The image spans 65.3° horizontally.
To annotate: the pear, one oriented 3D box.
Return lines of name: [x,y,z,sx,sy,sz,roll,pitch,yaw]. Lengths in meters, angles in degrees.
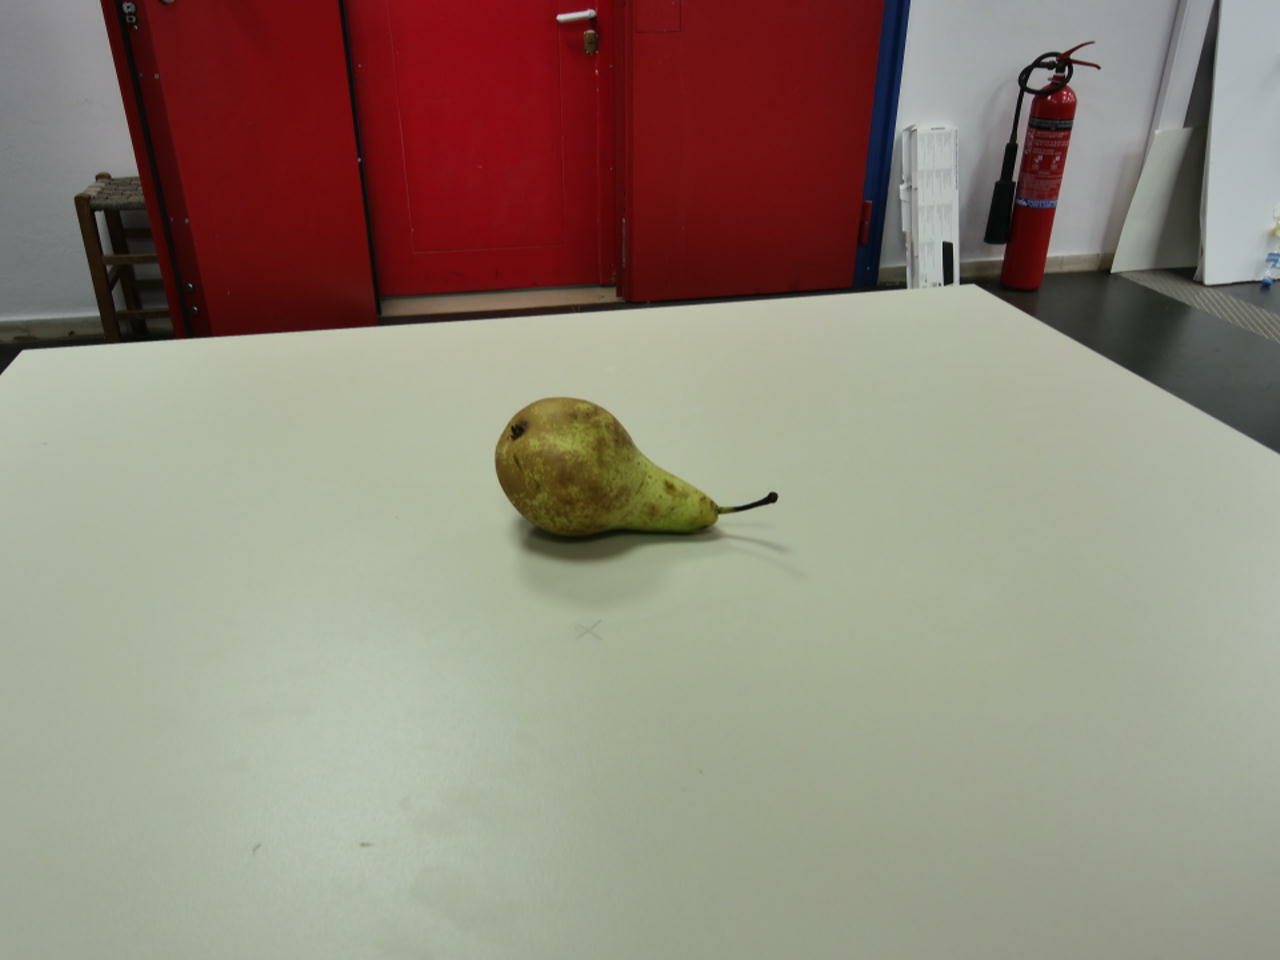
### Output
pear: [-0.004,-0.009,0.531,0.144,0.075,0.071,-3,26,-5]
